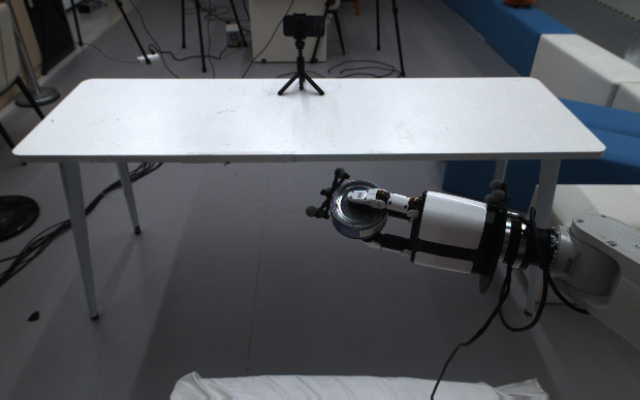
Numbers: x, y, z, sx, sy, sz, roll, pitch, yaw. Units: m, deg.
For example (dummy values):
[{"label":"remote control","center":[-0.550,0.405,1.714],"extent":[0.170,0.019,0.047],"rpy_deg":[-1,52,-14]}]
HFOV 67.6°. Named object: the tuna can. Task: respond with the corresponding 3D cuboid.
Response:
[{"label":"tuna can","center":[0.060,0.013,0.719],"extent":[0.085,0.034,0.085],"rpy_deg":[0,62,1]}]
